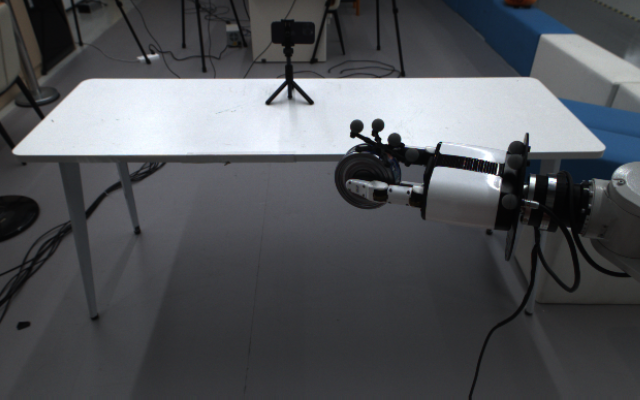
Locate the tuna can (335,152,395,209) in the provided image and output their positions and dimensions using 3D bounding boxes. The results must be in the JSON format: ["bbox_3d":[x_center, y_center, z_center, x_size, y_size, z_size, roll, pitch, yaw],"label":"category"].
[{"bbox_3d":[0.067,-0.025,0.649,0.085,0.085,0.034,15,31,18],"label":"tuna can"}]
